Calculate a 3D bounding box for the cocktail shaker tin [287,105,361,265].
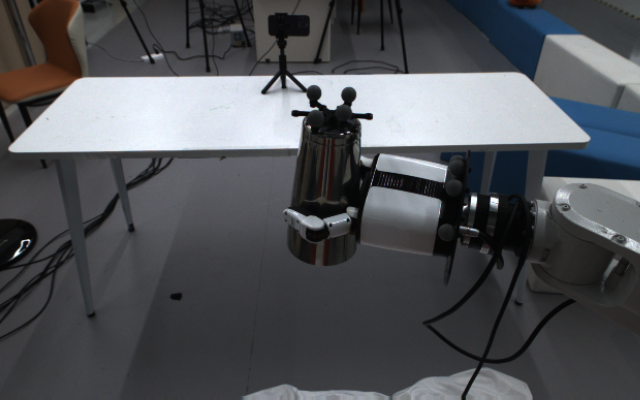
[{"bbox_3d":[0.011,-0.017,0.579,0.093,0.170,0.093,3,34,-2],"label":"cocktail shaker tin"}]
